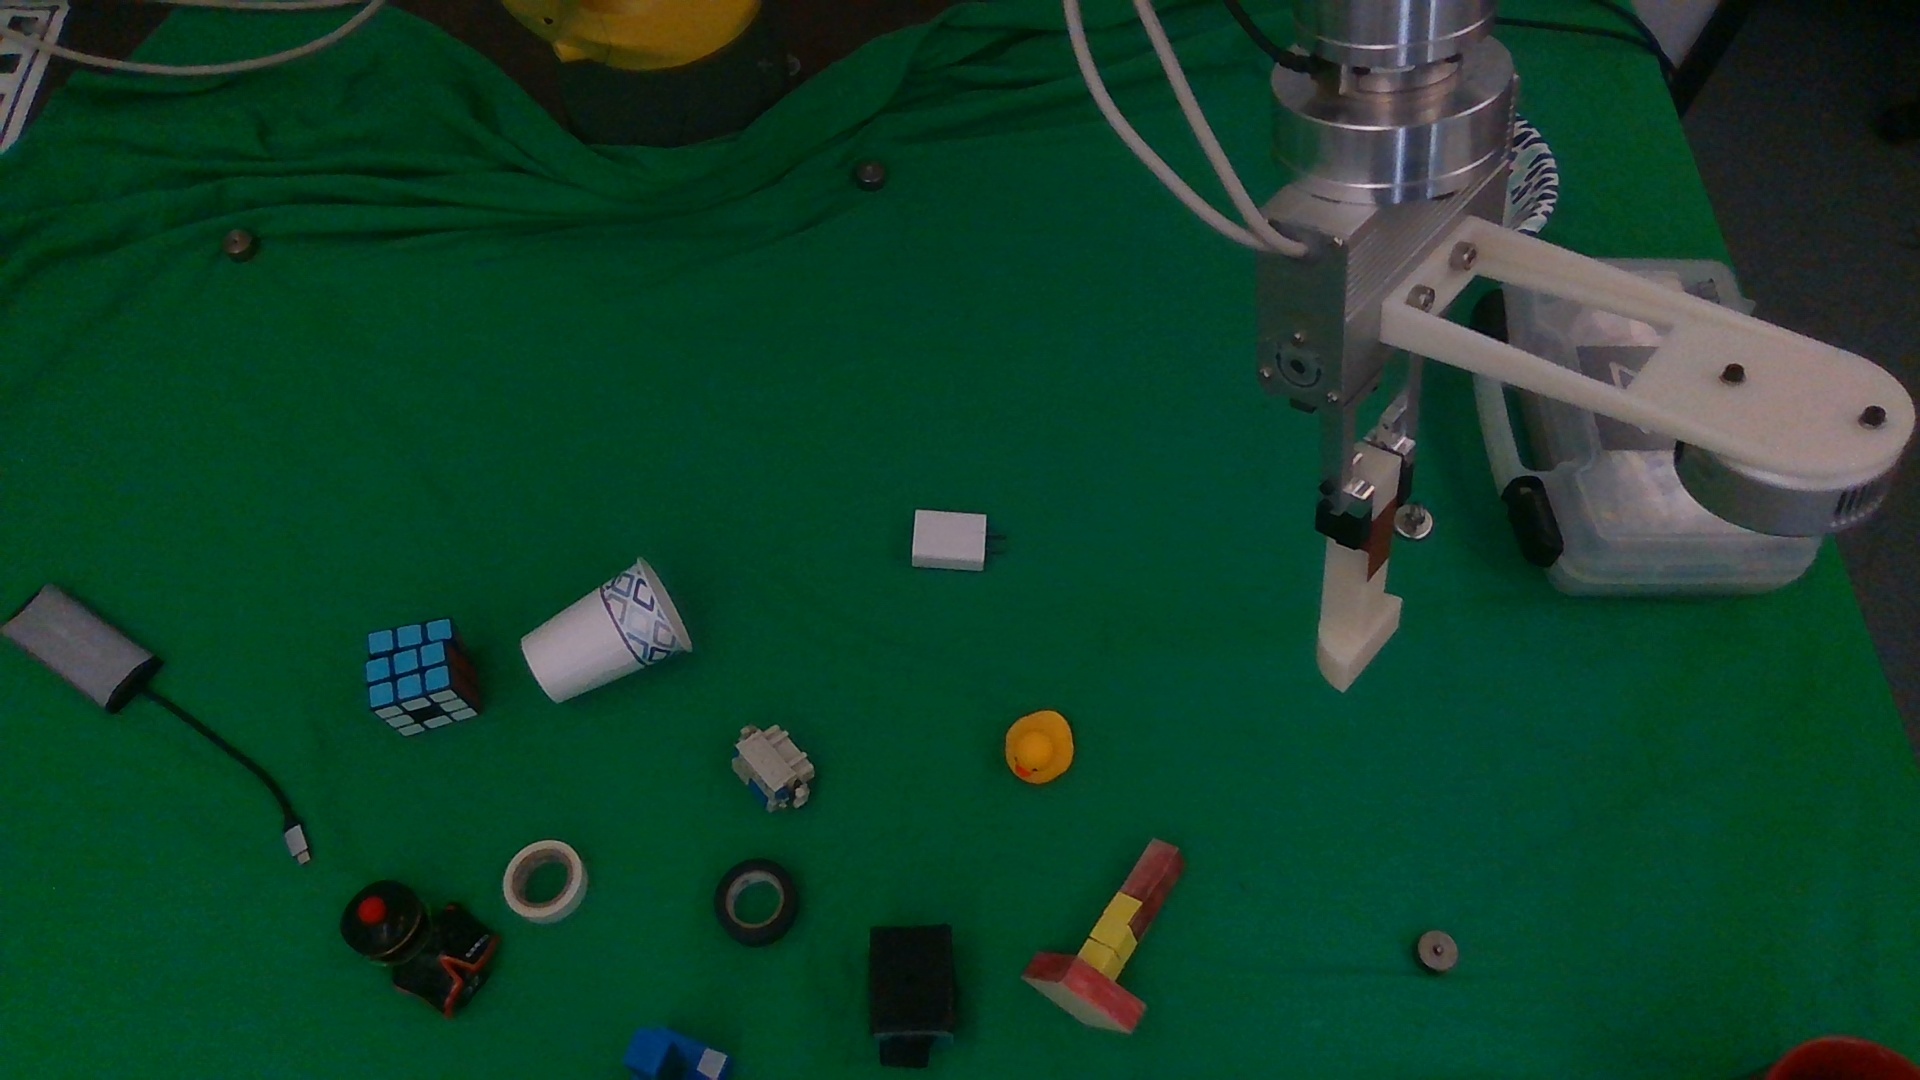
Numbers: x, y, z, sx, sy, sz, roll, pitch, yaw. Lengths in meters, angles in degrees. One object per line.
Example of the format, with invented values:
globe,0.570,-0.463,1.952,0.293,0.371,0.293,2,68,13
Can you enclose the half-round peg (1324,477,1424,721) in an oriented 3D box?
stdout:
half-round peg,0.176,0.021,0.588,0.031,0.122,0.054,20,54,24

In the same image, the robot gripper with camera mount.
robot gripper with camera mount,0.210,-0.038,0.479,0.194,0.158,0.118,27,56,34
